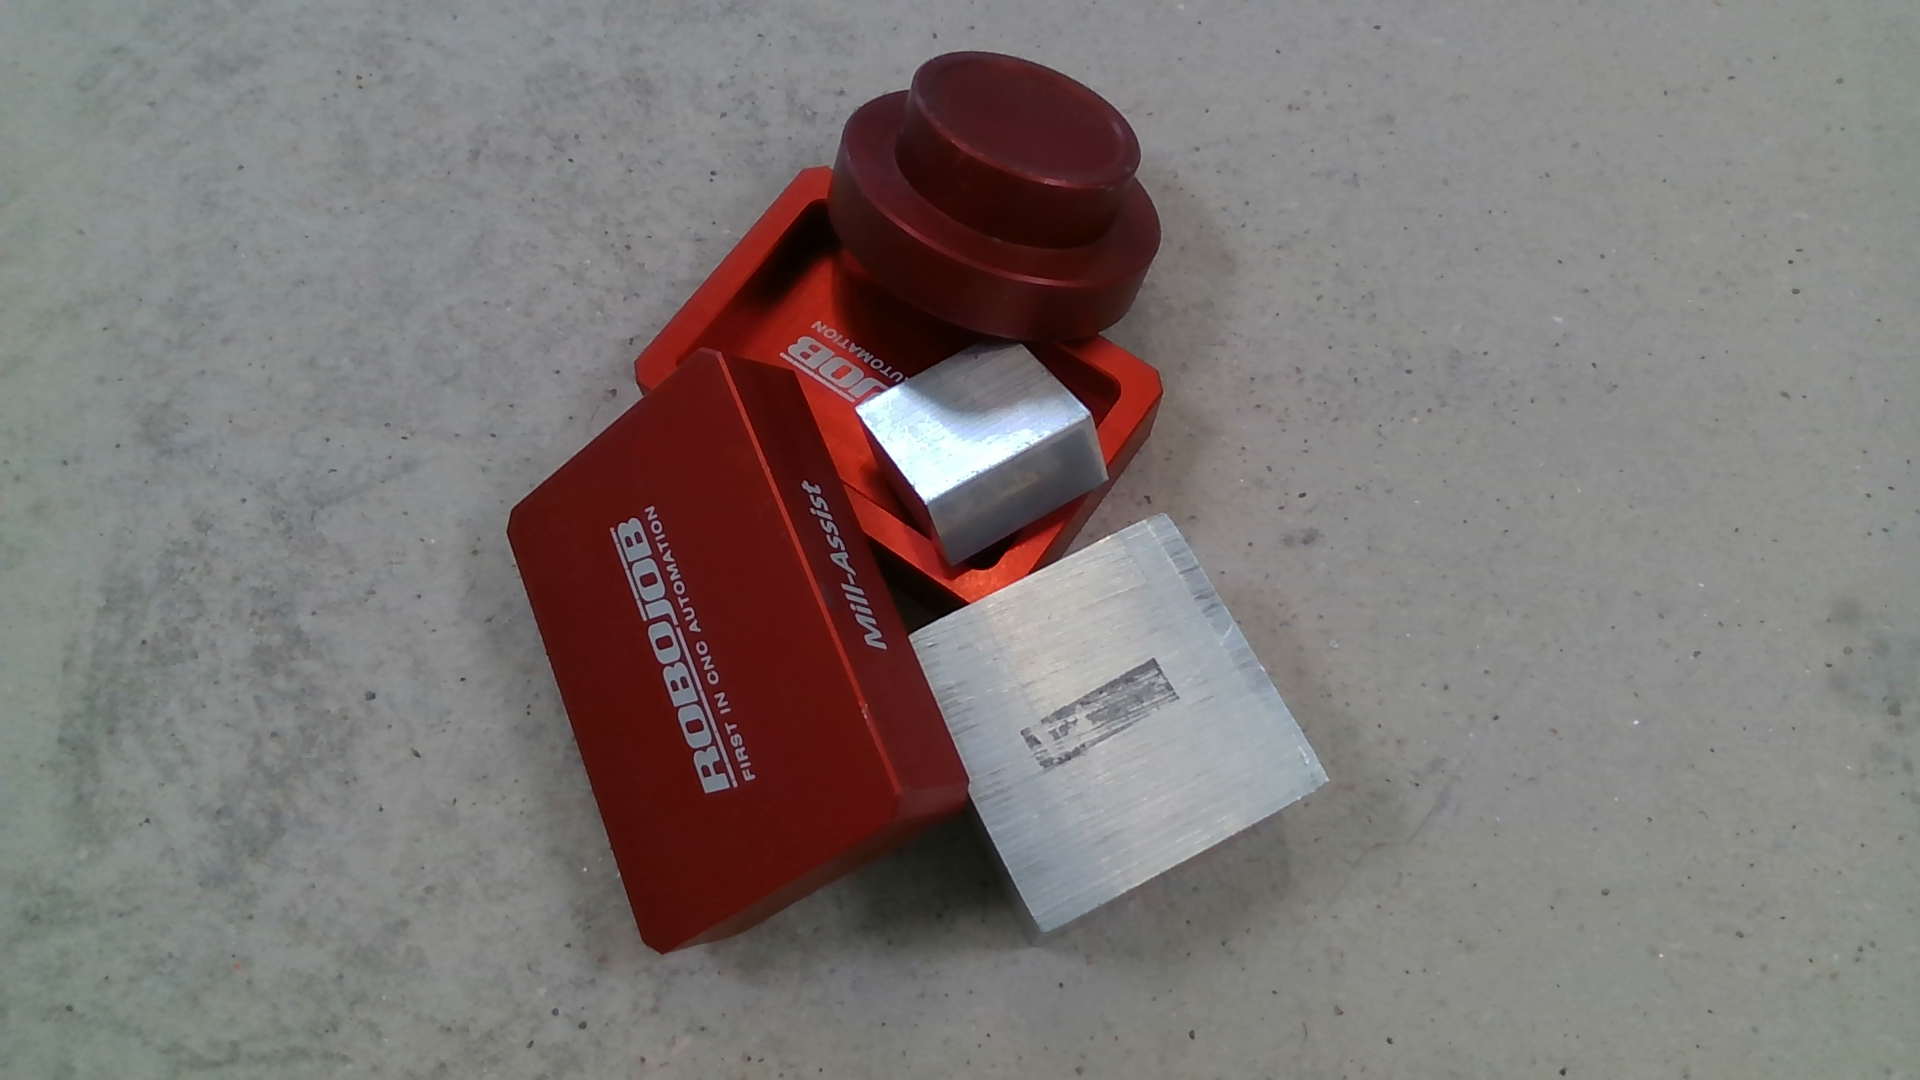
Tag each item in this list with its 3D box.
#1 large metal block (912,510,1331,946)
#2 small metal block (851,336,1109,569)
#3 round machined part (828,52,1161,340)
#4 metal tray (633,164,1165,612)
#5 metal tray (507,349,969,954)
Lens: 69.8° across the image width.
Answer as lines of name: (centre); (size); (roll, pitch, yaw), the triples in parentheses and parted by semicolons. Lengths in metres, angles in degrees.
large metal block: (0.037, 0.051, 0.365); (0.080, 0.050, 0.080); (-26, 72, -9)
small metal block: (0.005, -0.027, 0.381); (0.050, 0.025, 0.050); (-30, 45, -8)
round machined part: (0.013, -0.106, 0.402); (0.098, 0.042, 0.098); (12, 44, -12)
metal tray: (-0.018, -0.043, 0.407); (0.130, 0.030, 0.090); (33, 74, 11)
metal tray: (-0.062, 0.028, 0.359); (0.090, 0.030, 0.130); (-34, 69, 27)
